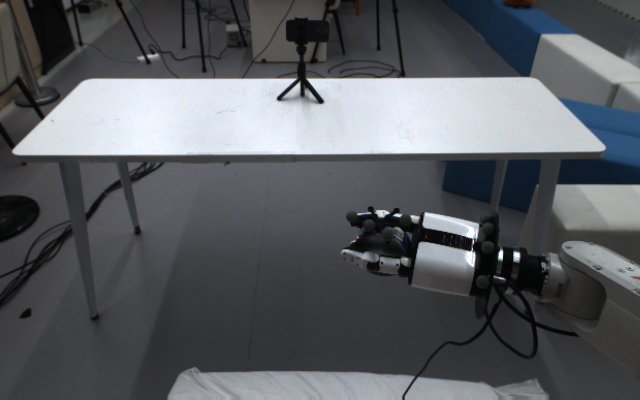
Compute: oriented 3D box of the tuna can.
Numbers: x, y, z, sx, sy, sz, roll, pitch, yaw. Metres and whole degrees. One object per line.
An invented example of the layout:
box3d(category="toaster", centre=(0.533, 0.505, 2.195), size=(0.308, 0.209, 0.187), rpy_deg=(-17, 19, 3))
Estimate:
box3d(category="tuna can", centre=(0.097, 0.078, 0.736), size=(0.085, 0.085, 0.034), rpy_deg=(12, 39, 13))
